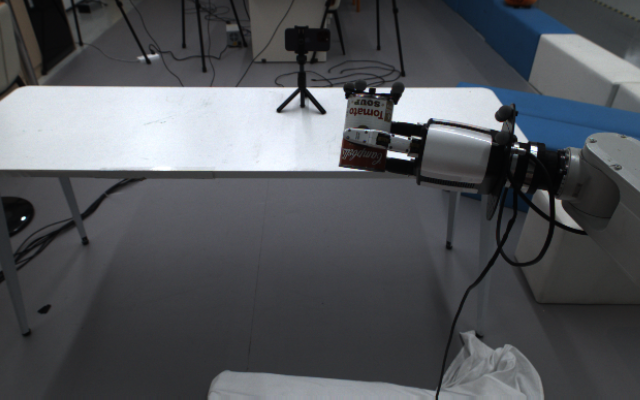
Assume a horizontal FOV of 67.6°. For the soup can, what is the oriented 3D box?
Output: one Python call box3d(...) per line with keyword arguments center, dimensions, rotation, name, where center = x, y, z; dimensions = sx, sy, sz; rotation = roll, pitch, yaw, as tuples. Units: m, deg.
box3d(center=(0.067, -0.095, 0.691), dimensions=(0.067, 0.101, 0.067), rotation=(7, 4, 0), name="soup can")
